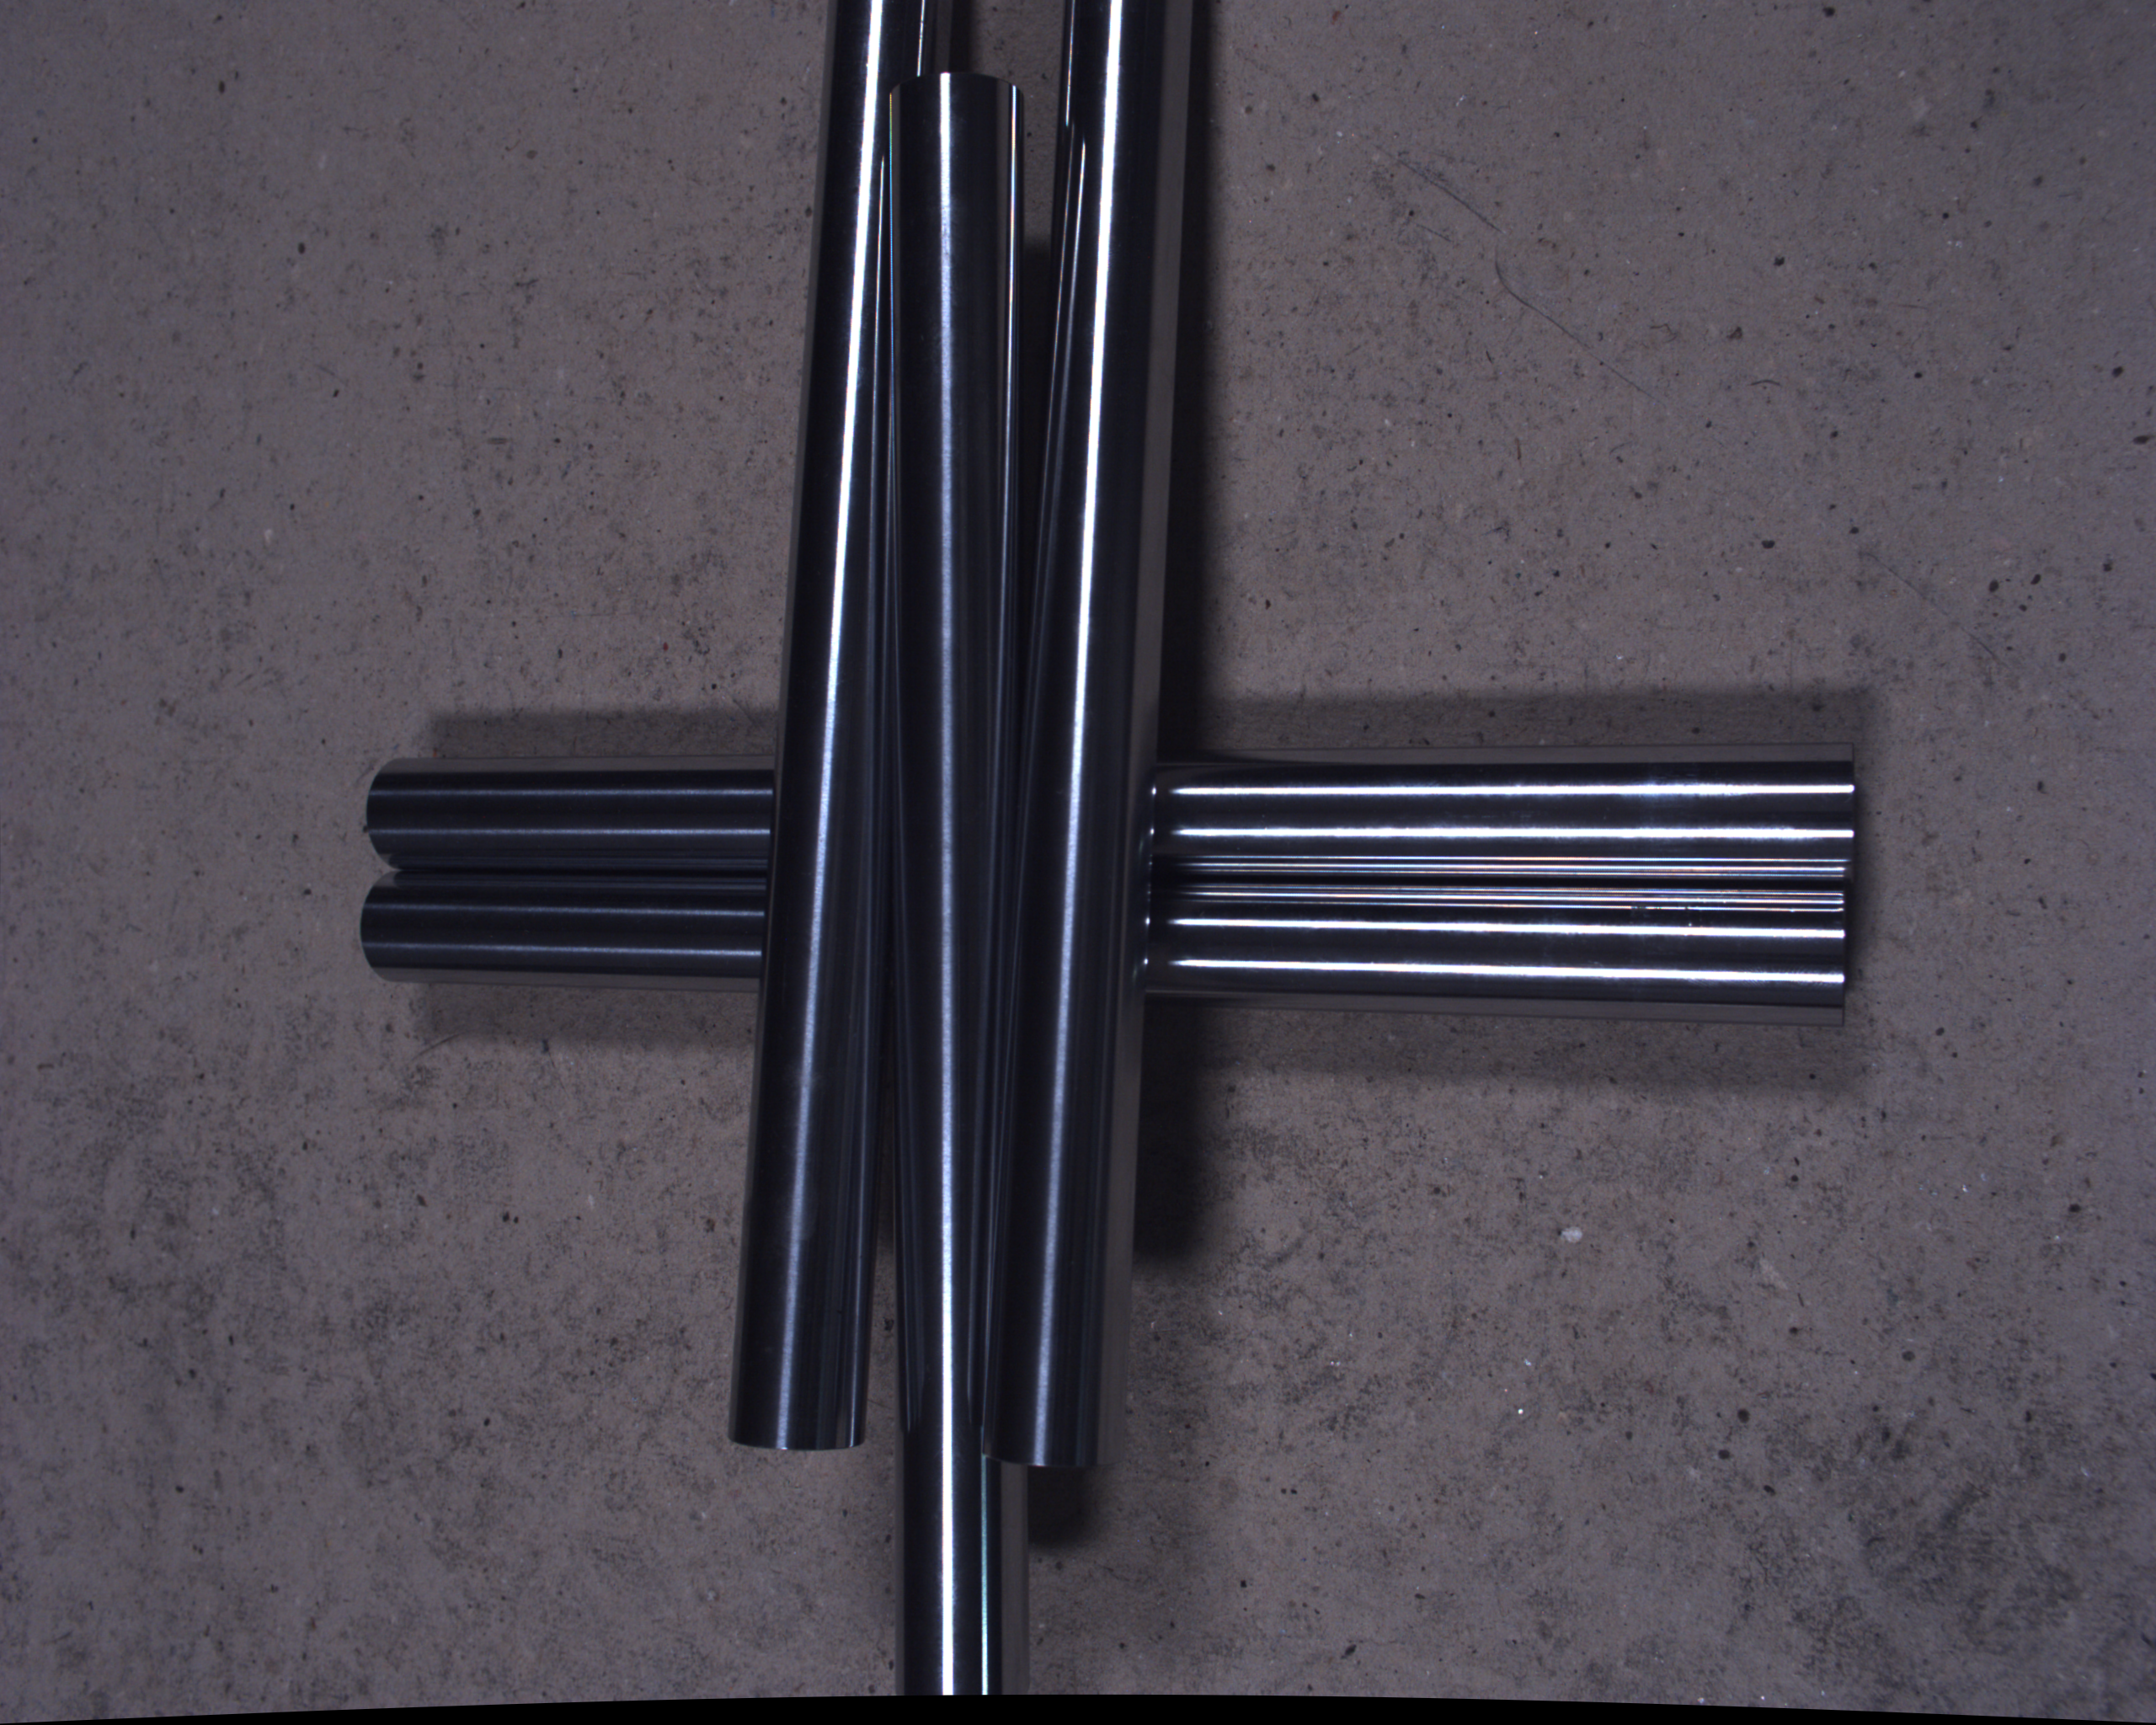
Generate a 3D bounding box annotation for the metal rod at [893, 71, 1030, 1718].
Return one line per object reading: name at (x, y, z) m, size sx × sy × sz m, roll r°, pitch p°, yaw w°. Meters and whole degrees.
metal rod at (-0.022, 0.005, 0.390) m, size 0.025 × 0.025 × 0.298 m, roll 0°, pitch 90°, yaw 19°

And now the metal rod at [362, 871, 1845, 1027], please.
metal rod at (-0.008, 0.015, 0.413) m, size 0.301 × 0.025 × 0.025 m, roll 0°, pitch 90°, yaw 19°

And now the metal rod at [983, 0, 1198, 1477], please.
metal rod at (0.004, -0.042, 0.385) m, size 0.025 × 0.025 × 0.298 m, roll 0°, pitch 82°, yaw 19°

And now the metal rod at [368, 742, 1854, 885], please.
metal rod at (-0.007, -0.010, 0.413) m, size 0.301 × 0.025 × 0.025 m, roll 0°, pitch 90°, yaw 19°

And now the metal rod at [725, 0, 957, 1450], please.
metal rod at (-0.044, -0.042, 0.402) m, size 0.025 × 0.025 × 0.298 m, roll 0°, pitch 82°, yaw 19°
